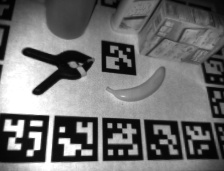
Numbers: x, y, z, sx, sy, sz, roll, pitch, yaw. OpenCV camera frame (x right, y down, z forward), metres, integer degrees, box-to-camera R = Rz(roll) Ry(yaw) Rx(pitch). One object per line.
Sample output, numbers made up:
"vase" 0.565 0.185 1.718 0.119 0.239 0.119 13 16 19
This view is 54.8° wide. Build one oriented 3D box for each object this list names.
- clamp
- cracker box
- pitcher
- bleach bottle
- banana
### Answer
"clamp" -0.126 -0.075 0.558 0.167 0.036 0.121 -9 69 -23
"cracker box" 0.214 -0.156 0.619 0.215 0.164 0.072 7 62 -13
"pitcher" -0.102 -0.245 0.499 0.191 0.241 0.132 -11 70 -24
"bleach bottle" 0.073 -0.253 0.583 0.103 0.250 0.067 6 64 -14
"banana" 0.085 -0.024 0.615 0.199 0.039 0.074 -28 77 -26
